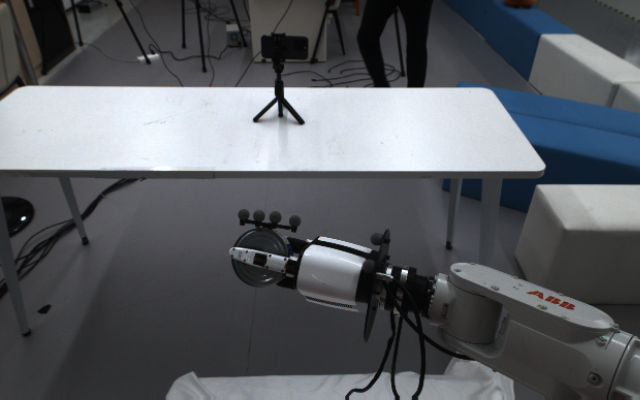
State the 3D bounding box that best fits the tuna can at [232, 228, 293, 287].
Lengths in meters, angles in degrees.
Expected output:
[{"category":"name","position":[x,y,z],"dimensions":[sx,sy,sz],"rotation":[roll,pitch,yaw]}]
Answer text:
[{"category":"tuna can","position":[-0.082,0.083,0.707],"dimensions":[0.085,0.085,0.034],"rotation":[11,-5,13]}]
